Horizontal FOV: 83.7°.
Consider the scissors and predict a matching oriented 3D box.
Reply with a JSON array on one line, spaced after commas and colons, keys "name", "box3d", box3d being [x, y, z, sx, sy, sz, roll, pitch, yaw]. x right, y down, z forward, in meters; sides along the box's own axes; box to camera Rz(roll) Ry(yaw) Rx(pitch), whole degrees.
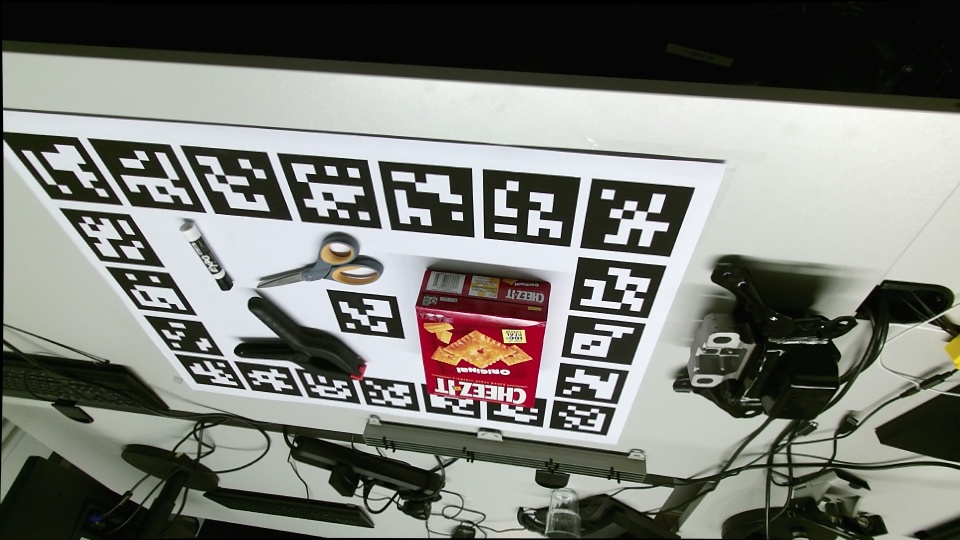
[{"name": "scissors", "box3d": [-0.226, 0.010, 0.719, 0.203, 0.016, 0.088, -15, 133, 28]}]

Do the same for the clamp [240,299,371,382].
[{"name": "clamp", "box3d": [-0.273, 0.131, 0.865, 0.203, 0.036, 0.165, 27, 136, -16]}]

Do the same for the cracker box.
[{"name": "cracker box", "box3d": [0.003, 0.105, 0.738, 0.165, 0.071, 0.214, 6, 137, 5]}]

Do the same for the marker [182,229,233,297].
[{"name": "marker", "box3d": [-0.368, -0.006, 0.729, 0.020, 0.019, 0.121, 3, 137, 8]}]
